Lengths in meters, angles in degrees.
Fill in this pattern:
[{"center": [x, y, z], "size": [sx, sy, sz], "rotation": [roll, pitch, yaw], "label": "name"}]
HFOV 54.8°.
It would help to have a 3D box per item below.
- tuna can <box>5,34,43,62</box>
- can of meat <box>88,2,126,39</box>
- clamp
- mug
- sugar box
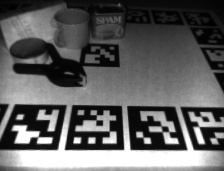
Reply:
[{"center": [-0.215, -0.087, 0.529], "size": [0.086, 0.034, 0.085], "rotation": [2, 49, -2], "label": "tuna can"}, {"center": [-0.017, -0.182, 0.609], "size": [0.102, 0.084, 0.057], "rotation": [-3, 46, -9], "label": "can of meat"}, {"center": [-0.139, -0.040, 0.500], "size": [0.164, 0.036, 0.122], "rotation": [32, 48, 17], "label": "clamp"}, {"center": [-0.117, -0.154, 0.564], "size": [0.092, 0.082, 0.117], "rotation": [21, 51, 15], "label": "mug"}, {"center": [-0.210, -0.166, 0.572], "size": [0.178, 0.093, 0.045], "rotation": [-27, 52, -28], "label": "sugar box"}]
